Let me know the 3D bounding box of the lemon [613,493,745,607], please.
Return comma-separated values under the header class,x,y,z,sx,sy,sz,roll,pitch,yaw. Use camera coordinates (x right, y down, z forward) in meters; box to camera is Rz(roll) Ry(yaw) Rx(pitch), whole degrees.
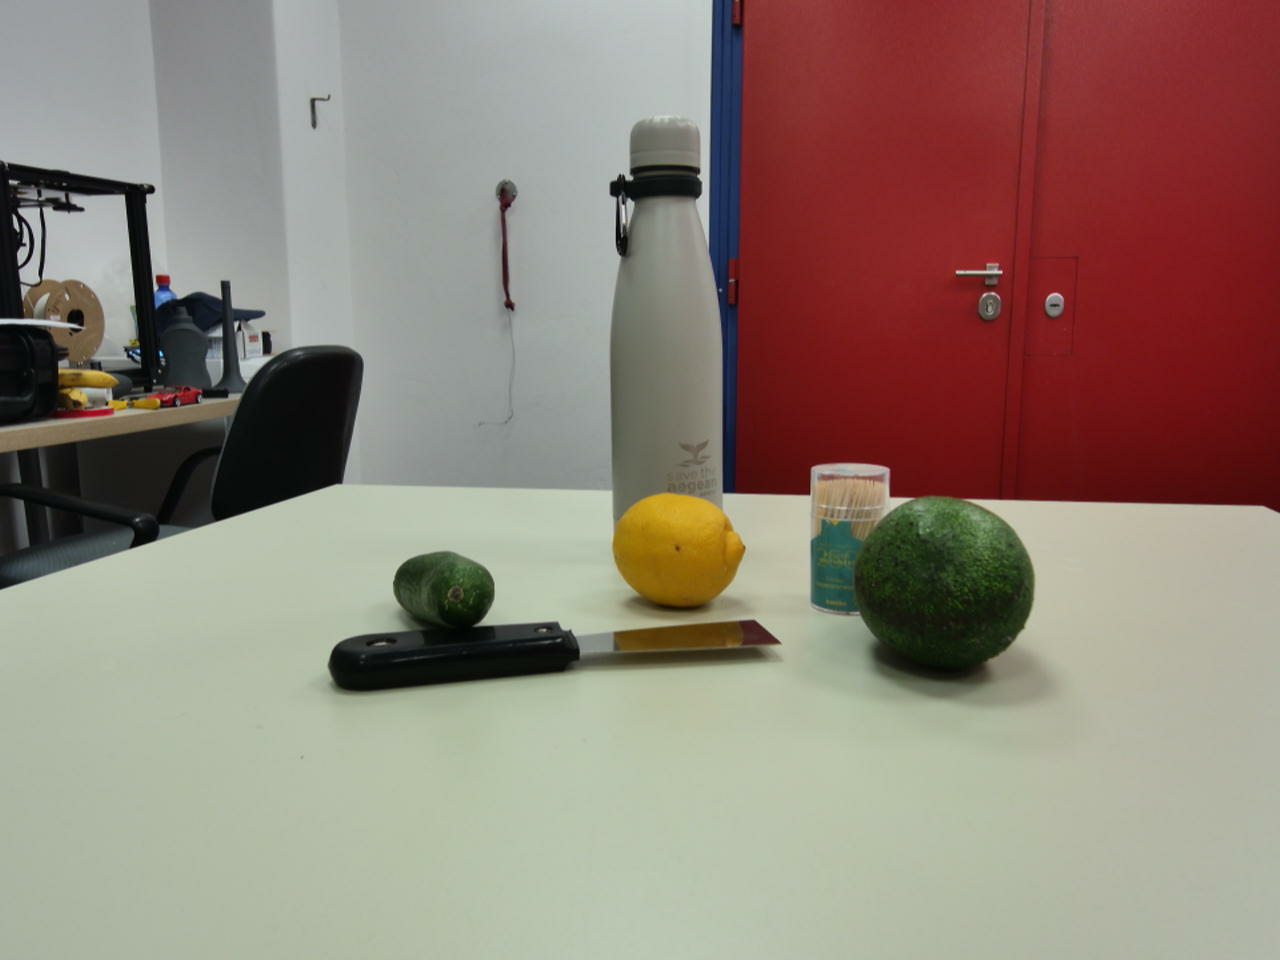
class,x,y,z,sx,sy,sz,roll,pitch,yaw
lemon,0.019,0.037,0.532,0.060,0.059,0.067,-3,8,-36
